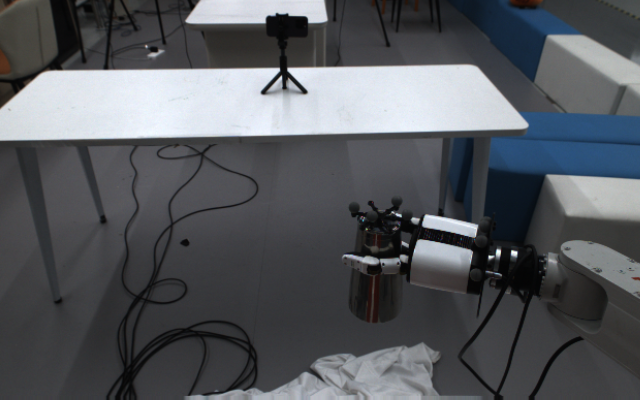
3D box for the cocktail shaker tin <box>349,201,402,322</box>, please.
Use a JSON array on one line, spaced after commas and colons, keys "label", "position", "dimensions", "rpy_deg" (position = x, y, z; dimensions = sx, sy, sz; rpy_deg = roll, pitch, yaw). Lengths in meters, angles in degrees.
[{"label": "cocktail shaker tin", "position": [0.096, 0.101, 0.783], "dimensions": [0.093, 0.170, 0.093], "rpy_deg": [-1, 32, 1]}]
